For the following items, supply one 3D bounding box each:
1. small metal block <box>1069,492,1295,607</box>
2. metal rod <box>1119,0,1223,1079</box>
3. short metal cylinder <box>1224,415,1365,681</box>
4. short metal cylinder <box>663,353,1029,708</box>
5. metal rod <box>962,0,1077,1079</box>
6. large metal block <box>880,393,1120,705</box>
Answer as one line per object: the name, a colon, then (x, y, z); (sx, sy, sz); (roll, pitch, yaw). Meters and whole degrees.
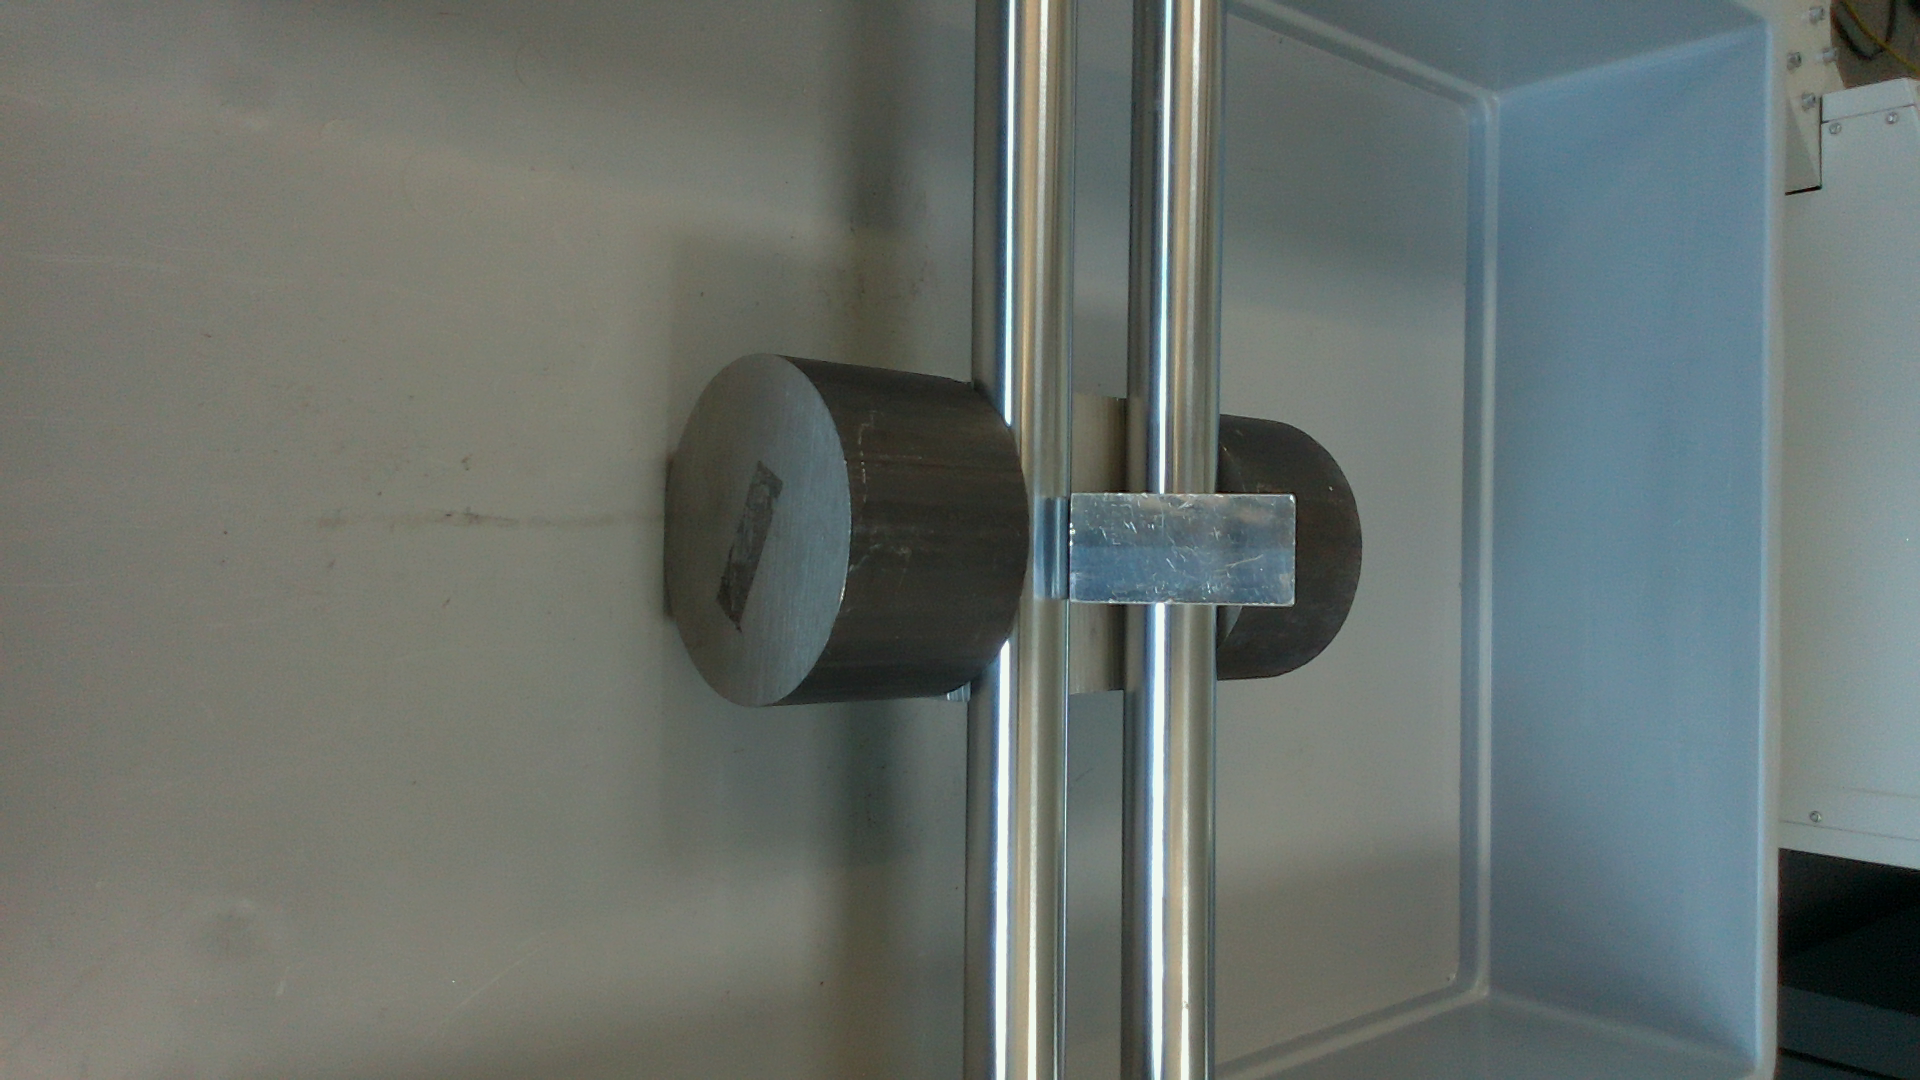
small metal block: (0.052, 0.002, 0.333); (0.050, 0.050, 0.025); (1, 90, 5)
metal rod: (0.057, 0.003, 0.370); (0.025, 0.025, 0.300); (1, 89, -40)
short metal cylinder: (0.072, 0.002, 0.411); (0.050, 0.080, 0.080); (1, 89, -39)
short metal cylinder: (-0.029, -0.002, 0.328); (0.050, 0.080, 0.080); (2, 89, -40)
metal rod: (0.014, 0.004, 0.335); (0.025, 0.025, 0.300); (1, 89, -40)
large metal block: (0.012, 0.001, 0.381); (0.080, 0.050, 0.080); (1, 89, -40)
